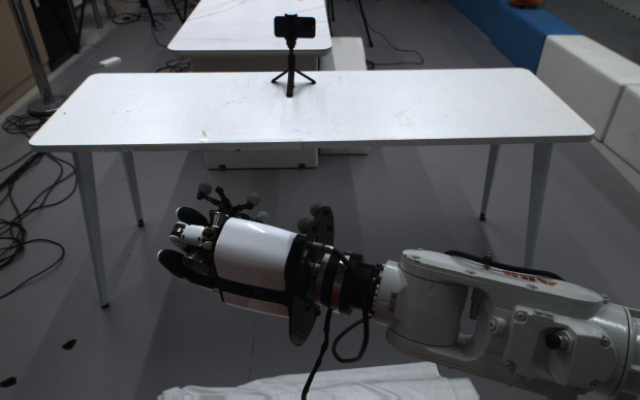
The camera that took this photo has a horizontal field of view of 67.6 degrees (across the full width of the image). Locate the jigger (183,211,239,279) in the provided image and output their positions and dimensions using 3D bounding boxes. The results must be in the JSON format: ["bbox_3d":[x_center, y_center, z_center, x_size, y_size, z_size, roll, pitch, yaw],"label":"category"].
[{"bbox_3d":[-0.127,0.053,0.581,0.043,0.043,0.071,13,58,16],"label":"jigger"}]
